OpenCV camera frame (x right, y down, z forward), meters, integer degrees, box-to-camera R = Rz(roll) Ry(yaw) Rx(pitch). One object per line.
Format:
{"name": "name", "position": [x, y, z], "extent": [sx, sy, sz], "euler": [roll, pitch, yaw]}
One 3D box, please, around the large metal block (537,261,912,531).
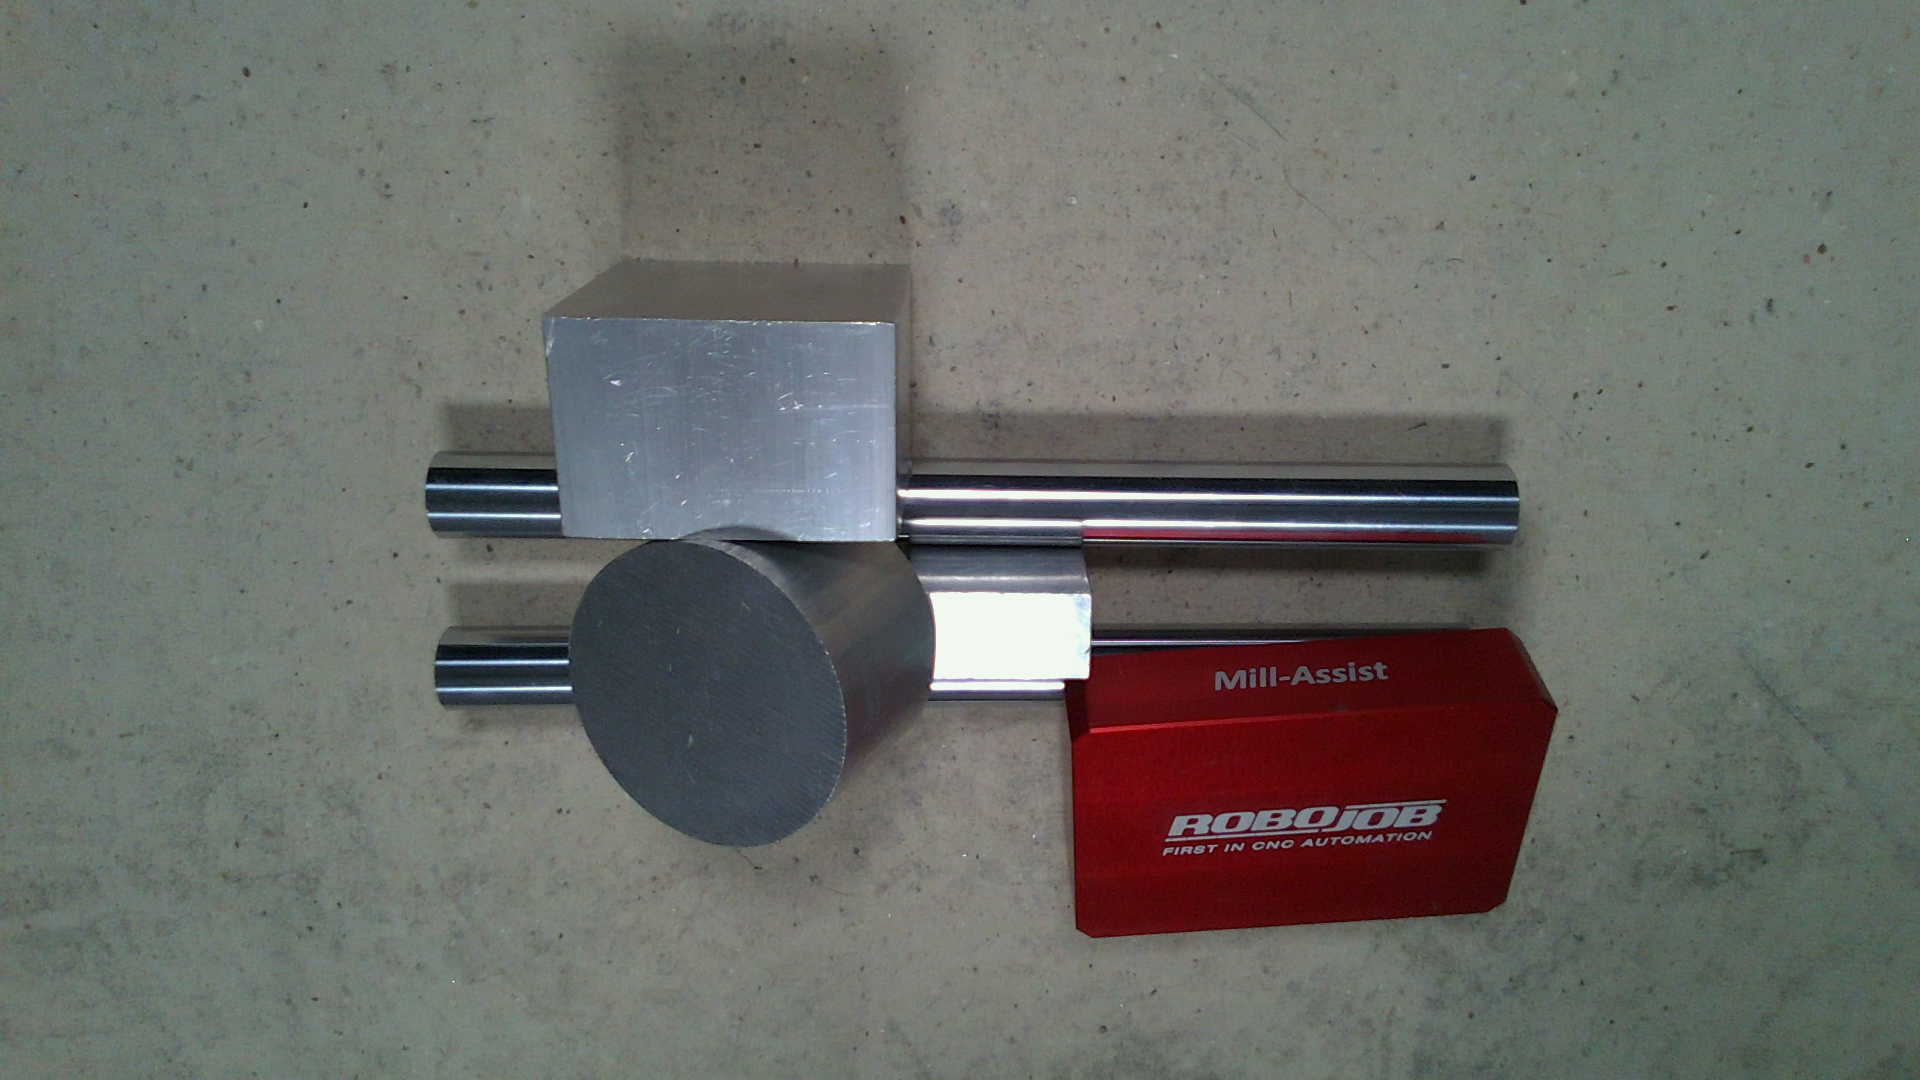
{"name": "large metal block", "position": [-0.054, -0.040, 0.350], "extent": [0.080, 0.080, 0.050], "euler": [1, 110, 0]}

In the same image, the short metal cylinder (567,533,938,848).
{"name": "short metal cylinder", "position": [-0.053, 0.031, 0.354], "extent": [0.080, 0.050, 0.080], "euler": [8, 110, 23]}

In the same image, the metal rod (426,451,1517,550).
{"name": "metal rod", "position": [0.004, -0.011, 0.390], "extent": [0.300, 0.025, 0.025], "euler": [1, 110, -1]}

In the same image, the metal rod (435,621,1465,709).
{"name": "metal rod", "position": [-0.001, 0.037, 0.408], "extent": [0.300, 0.025, 0.025], "euler": [0, 110, 0]}

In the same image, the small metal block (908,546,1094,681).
{"name": "small metal block", "position": [0.010, 0.017, 0.387], "extent": [0.050, 0.050, 0.025], "euler": [1, 110, 0]}

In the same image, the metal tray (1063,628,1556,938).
{"name": "metal tray", "position": [0.097, 0.073, 0.404], "extent": [0.130, 0.030, 0.090], "euler": [-4, 128, 0]}
